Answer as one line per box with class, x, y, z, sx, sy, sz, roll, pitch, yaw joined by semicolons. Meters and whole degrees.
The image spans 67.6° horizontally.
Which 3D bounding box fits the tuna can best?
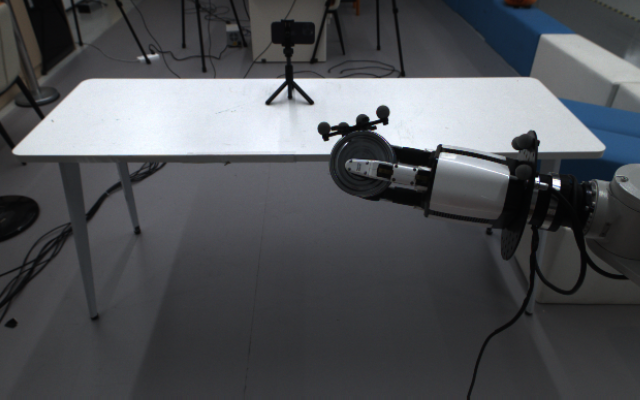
tuna can;0.060;-0.041;0.623;0.085;0.085;0.034;12;3;14
